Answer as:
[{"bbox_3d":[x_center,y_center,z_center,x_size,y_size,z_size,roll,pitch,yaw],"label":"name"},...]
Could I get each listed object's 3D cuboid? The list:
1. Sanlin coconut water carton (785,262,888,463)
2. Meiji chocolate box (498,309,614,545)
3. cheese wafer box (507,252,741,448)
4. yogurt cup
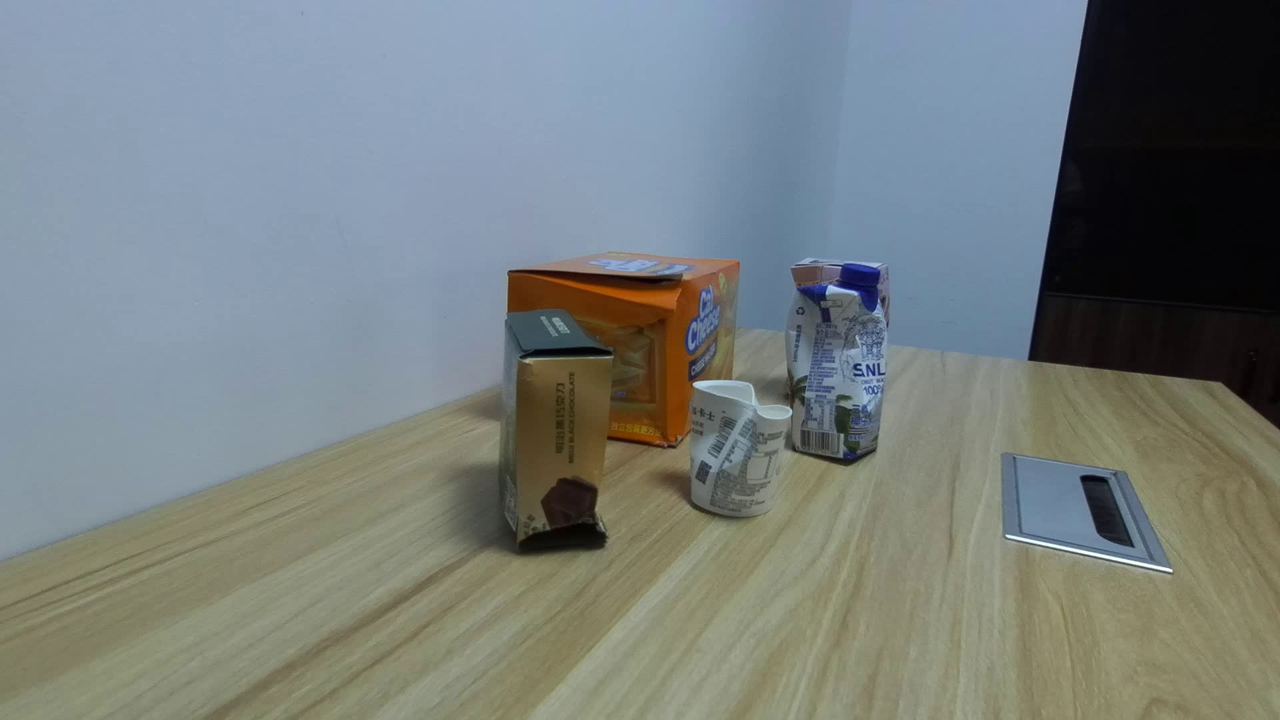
[{"bbox_3d":[0.151,0.000,0.540,0.068,0.144,0.057,3,3,36],"label":"Sanlin coconut water carton"},{"bbox_3d":[-0.052,0.037,0.416,0.059,0.116,0.122,1,10,-13],"label":"Meiji chocolate box"},{"bbox_3d":[-0.005,-0.023,0.634,0.149,0.137,0.227,7,13,17],"label":"cheese wafer box"},{"bbox_3d":[0.059,0.054,0.437,0.075,0.071,0.054,10,17,33],"label":"yogurt cup"}]
